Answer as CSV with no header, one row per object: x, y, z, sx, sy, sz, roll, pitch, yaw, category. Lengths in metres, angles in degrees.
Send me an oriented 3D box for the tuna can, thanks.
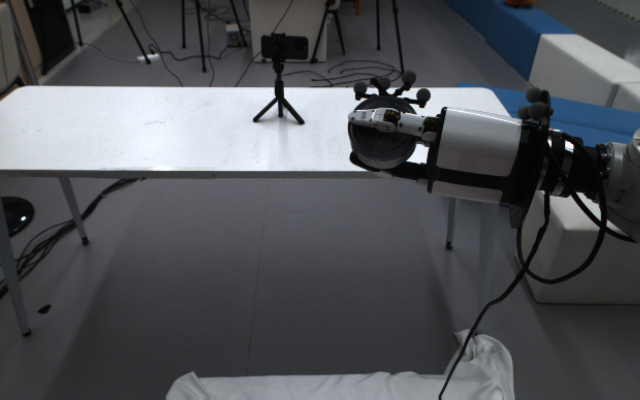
0.077,-0.086,0.591,0.085,0.034,0.085,-3,69,7,tuna can
